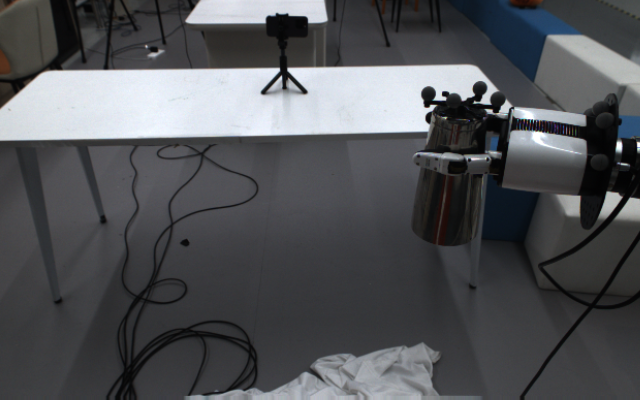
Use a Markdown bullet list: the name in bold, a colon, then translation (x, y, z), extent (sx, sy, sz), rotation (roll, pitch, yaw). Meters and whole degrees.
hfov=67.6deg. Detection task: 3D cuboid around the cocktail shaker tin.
- **cocktail shaker tin**: translation (0.176, -0.039, 0.634), extent (0.093, 0.170, 0.093), rotation (-1, 32, 1)
